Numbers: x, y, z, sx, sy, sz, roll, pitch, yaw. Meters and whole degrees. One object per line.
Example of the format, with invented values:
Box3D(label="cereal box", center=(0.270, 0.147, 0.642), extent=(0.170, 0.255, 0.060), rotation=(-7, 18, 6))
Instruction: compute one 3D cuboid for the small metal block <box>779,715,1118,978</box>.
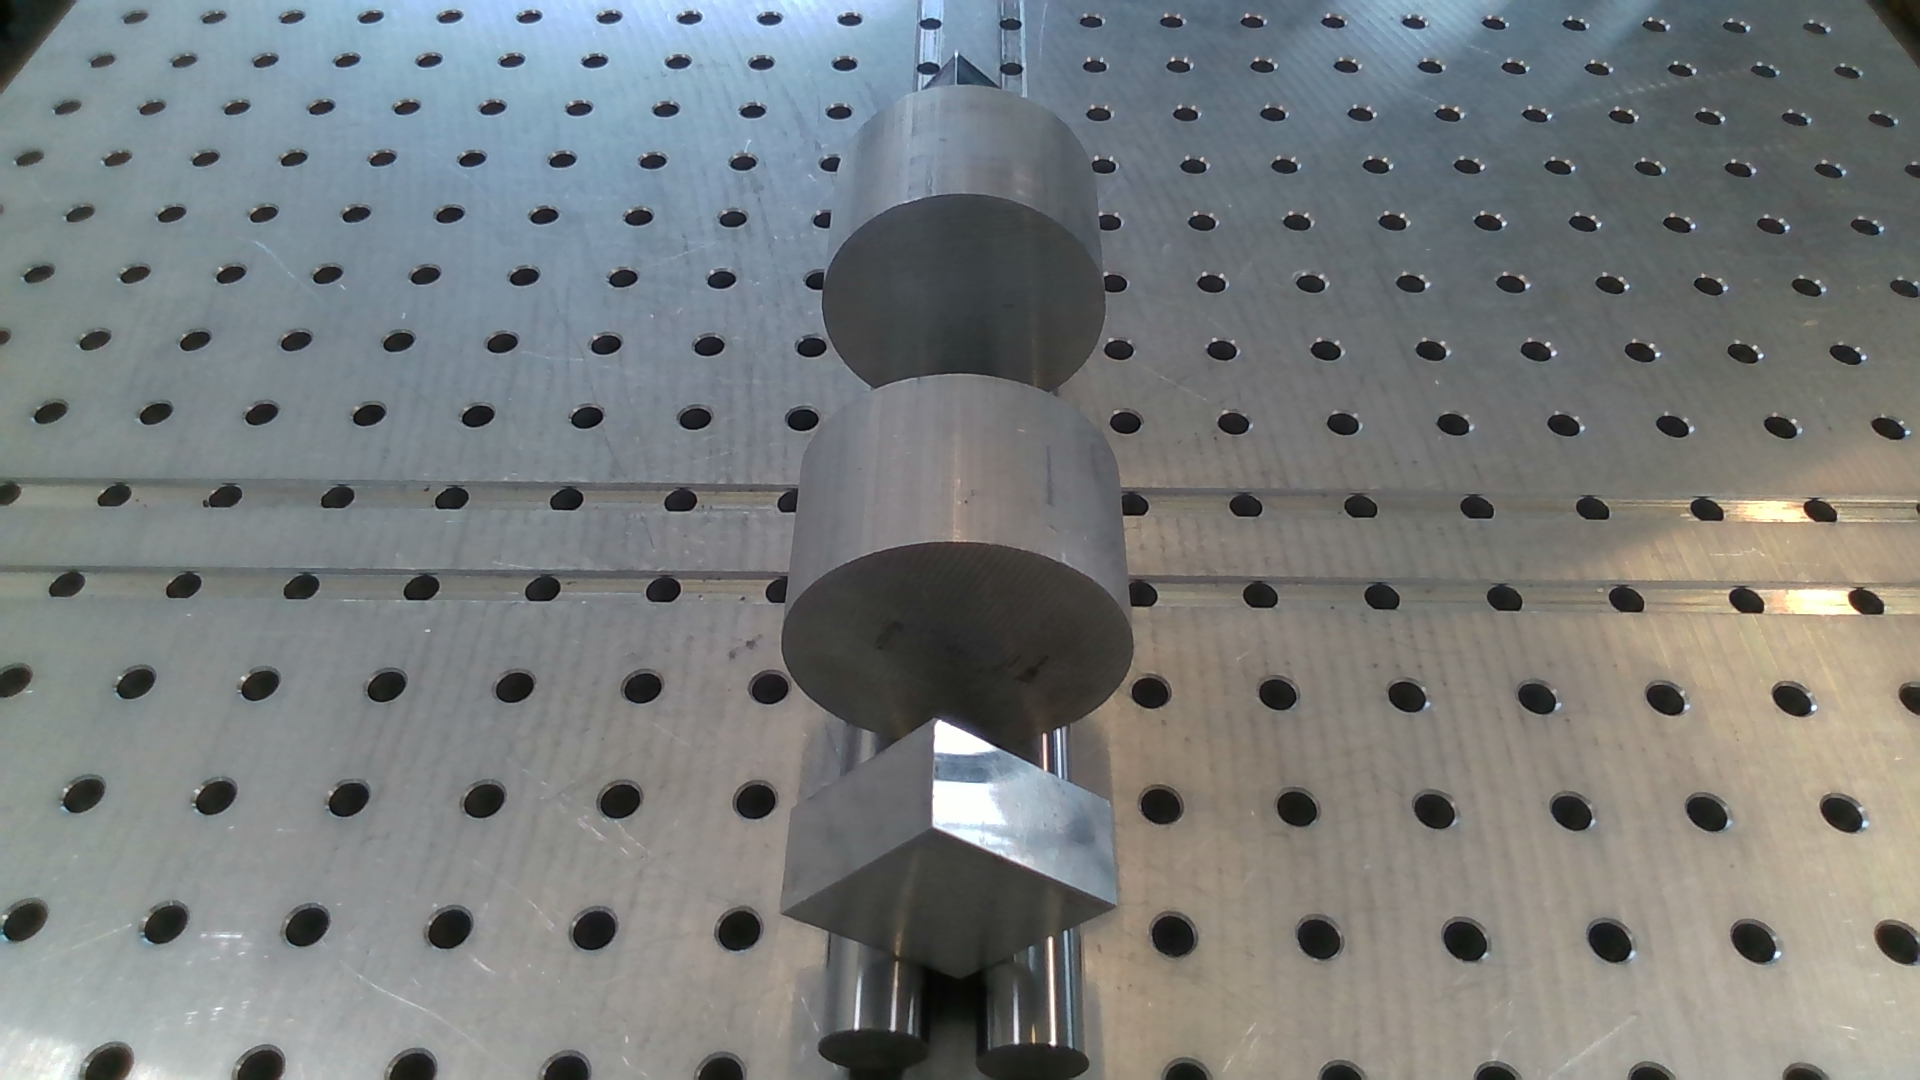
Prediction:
Box3D(label="small metal block", center=(-0.003, 0.067, 0.295), extent=(0.050, 0.050, 0.025), rotation=(30, 42, -30))

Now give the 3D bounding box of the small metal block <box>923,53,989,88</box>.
Box3D(label="small metal block", center=(0.001, -0.121, 0.452), extent=(0.050, 0.050, 0.025), rotation=(31, 42, -30))

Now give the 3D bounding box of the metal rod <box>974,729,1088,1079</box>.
Box3D(label="metal rod", center=(0.018, -0.001, 0.398), extent=(0.025, 0.025, 0.299), rotation=(1, 50, 1))

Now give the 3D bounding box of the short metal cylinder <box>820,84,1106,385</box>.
Box3D(label="short metal cylinder", center=(0.001, -0.083, 0.402), extent=(0.080, 0.080, 0.050), rotation=(0, 50, 0))

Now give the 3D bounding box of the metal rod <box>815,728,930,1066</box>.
Box3D(label="metal rod", center=(-0.017, -0.003, 0.400), extent=(0.025, 0.025, 0.299), rotation=(1, 50, 1))

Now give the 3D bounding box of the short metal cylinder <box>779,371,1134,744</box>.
Box3D(label="short metal cylinder", center=(-0.001, 0.006, 0.327), extent=(0.080, 0.080, 0.050), rotation=(0, 50, 0))
